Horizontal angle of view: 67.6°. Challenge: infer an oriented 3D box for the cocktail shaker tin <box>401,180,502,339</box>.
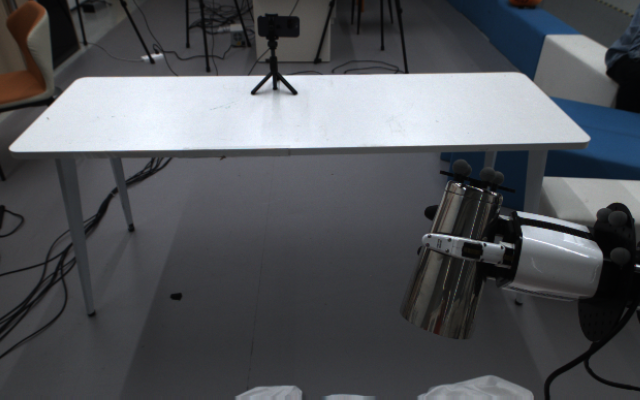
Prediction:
[{"bbox_3d":[0.165,0.067,0.585,0.093,0.170,0.093,14,6,-2],"label":"cocktail shaker tin"}]
